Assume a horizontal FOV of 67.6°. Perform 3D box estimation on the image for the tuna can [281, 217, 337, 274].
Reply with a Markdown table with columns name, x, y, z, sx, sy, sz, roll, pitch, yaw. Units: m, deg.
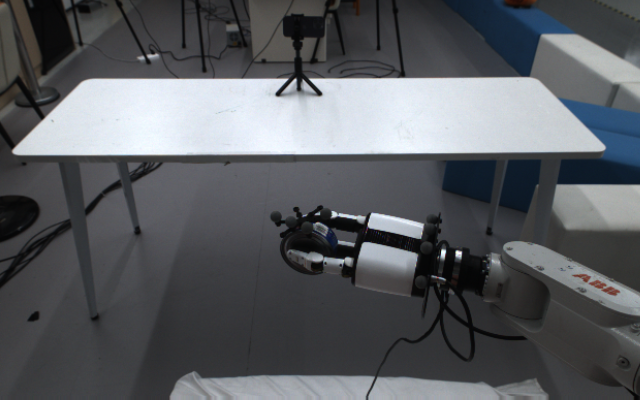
| name | x | y | z | sx | sy | sz | roll | pitch | yaw |
| --- | --- | --- | --- | --- | --- | --- | --- | --- | --- |
| tuna can | -0.014 | 0.077 | 0.741 | 0.085 | 0.085 | 0.034 | 10 | 33 | 11 |
